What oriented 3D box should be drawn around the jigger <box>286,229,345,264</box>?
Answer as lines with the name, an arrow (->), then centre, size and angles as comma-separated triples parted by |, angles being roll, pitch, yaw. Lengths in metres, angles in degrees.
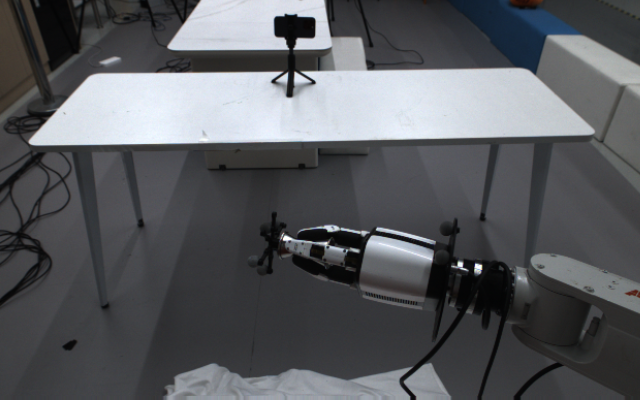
jigger -> -0.012, 0.062, 0.656 | 0.071, 0.043, 0.043 | 7, 35, 16
